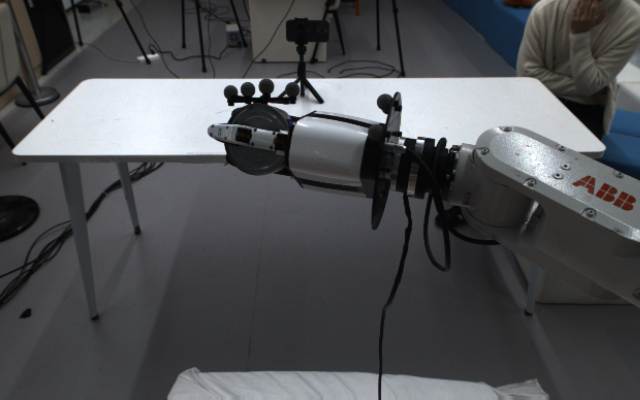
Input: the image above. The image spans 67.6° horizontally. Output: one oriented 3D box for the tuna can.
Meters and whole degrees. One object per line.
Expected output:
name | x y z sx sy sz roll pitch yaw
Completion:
tuna can | -0.070 -0.073 0.591 0.085 0.085 0.034 12 8 14
